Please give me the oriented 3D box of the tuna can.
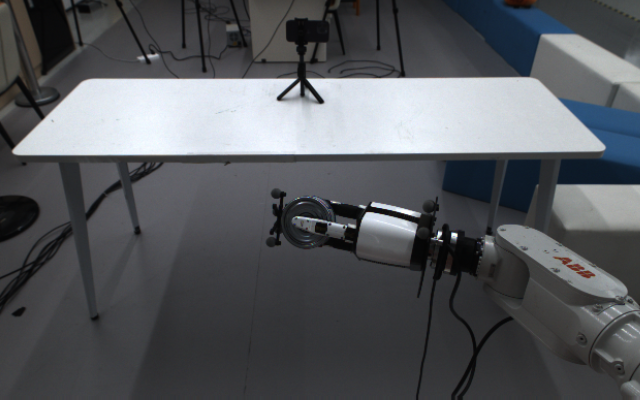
[{"bbox_3d":[-0.017,0.035,0.777,0.085,0.085,0.034,10,2,12],"label":"tuna can"}]
